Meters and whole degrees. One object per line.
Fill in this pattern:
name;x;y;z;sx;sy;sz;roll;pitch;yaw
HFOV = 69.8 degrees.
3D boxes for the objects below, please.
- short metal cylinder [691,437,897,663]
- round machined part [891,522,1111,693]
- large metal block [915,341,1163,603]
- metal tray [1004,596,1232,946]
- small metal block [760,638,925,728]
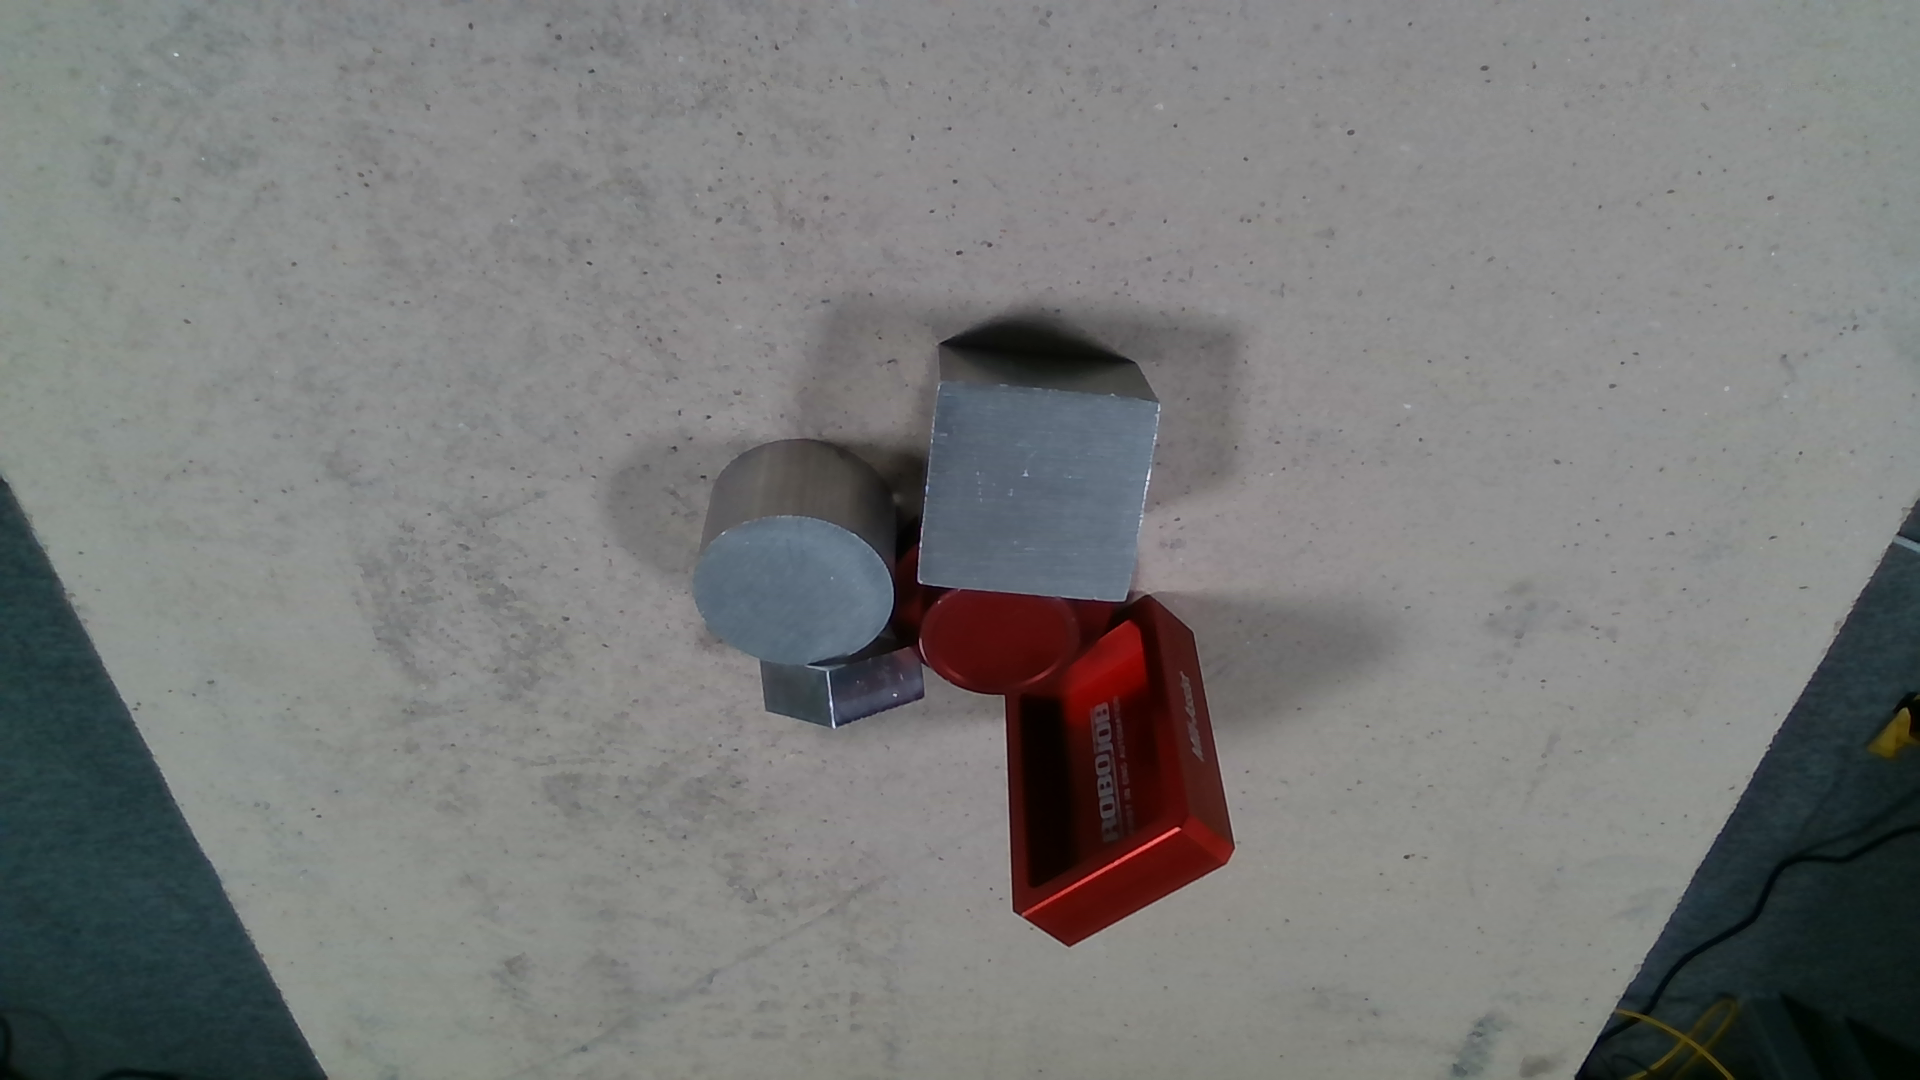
short metal cylinder;-0.067;0.005;0.567;0.080;0.050;0.080;0;130;0
round machined part;0.017;0.028;0.593;0.098;0.042;0.098;0;130;0
large metal block;0.027;-0.026;0.525;0.080;0.050;0.080;5;113;-4
metal tray;0.063;0.096;0.590;0.090;0.130;0.030;-37;121;27
small metal block;-0.052;0.059;0.599;0.050;0.050;0.025;5;104;48
